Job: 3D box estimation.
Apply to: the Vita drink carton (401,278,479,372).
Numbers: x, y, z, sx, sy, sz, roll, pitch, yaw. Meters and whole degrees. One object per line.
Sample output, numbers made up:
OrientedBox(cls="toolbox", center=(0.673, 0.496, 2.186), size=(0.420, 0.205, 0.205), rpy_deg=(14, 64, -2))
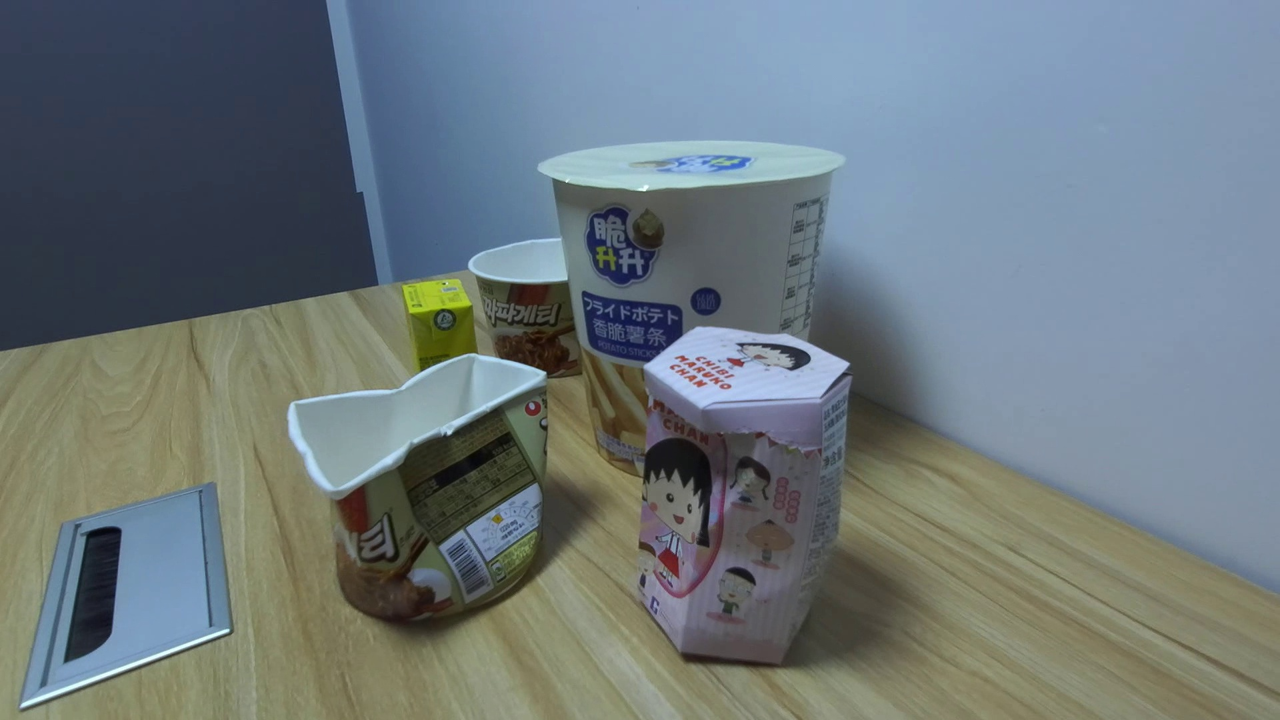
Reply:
OrientedBox(cls="Vita drink carton", center=(-0.136, 0.003, 0.506), size=(0.044, 0.109, 0.066), rpy_deg=(-11, 27, -17))

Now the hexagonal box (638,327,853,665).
OrientedBox(cls="hexagonal box", center=(0.047, 0.064, 0.347), size=(0.090, 0.134, 0.091), rpy_deg=(5, 22, 7))

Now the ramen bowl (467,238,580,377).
OrientedBox(cls="ramen bowl", center=(-0.077, -0.047, 0.636), size=(0.140, 0.095, 0.140), rpy_deg=(0, 22, 0))

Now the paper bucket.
OrientedBox(cls="paper bucket", center=(0.035, -0.038, 0.478), size=(0.198, 0.195, 0.198), rpy_deg=(-2, 24, 1))

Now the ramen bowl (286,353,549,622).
OrientedBox(cls="ramen bowl", center=(-0.106, 0.064, 0.381), size=(0.129, 0.093, 0.111), rpy_deg=(-18, 28, -32))
